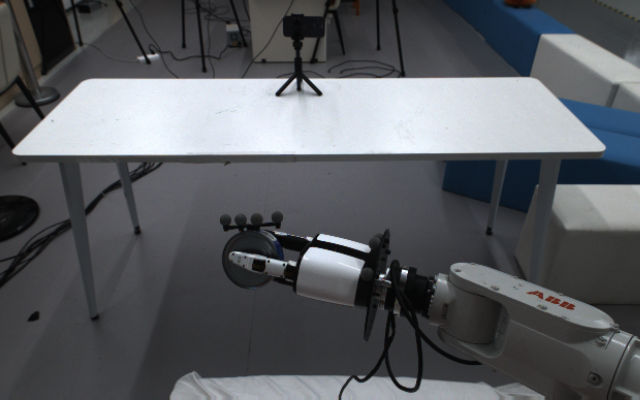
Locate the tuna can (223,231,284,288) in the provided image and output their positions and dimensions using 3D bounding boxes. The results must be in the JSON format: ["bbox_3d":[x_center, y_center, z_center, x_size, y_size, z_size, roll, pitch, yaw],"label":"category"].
[{"bbox_3d":[-0.091,0.087,0.709,0.085,0.085,0.034,10,3,11],"label":"tuna can"}]
